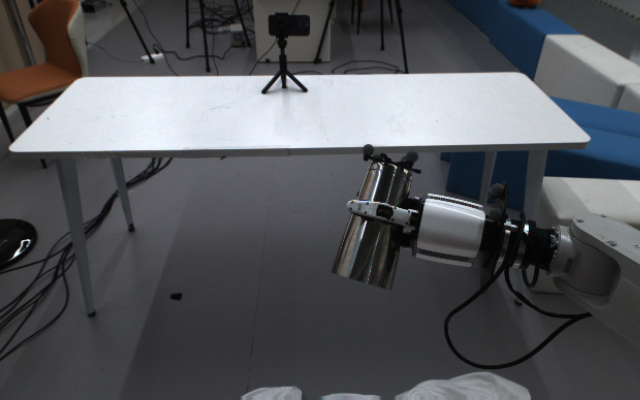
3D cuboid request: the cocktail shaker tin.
[{"bbox_3d":[0.081,0.035,0.707,0.093,0.170,0.093,16,-6,2],"label":"cocktail shaker tin"}]
